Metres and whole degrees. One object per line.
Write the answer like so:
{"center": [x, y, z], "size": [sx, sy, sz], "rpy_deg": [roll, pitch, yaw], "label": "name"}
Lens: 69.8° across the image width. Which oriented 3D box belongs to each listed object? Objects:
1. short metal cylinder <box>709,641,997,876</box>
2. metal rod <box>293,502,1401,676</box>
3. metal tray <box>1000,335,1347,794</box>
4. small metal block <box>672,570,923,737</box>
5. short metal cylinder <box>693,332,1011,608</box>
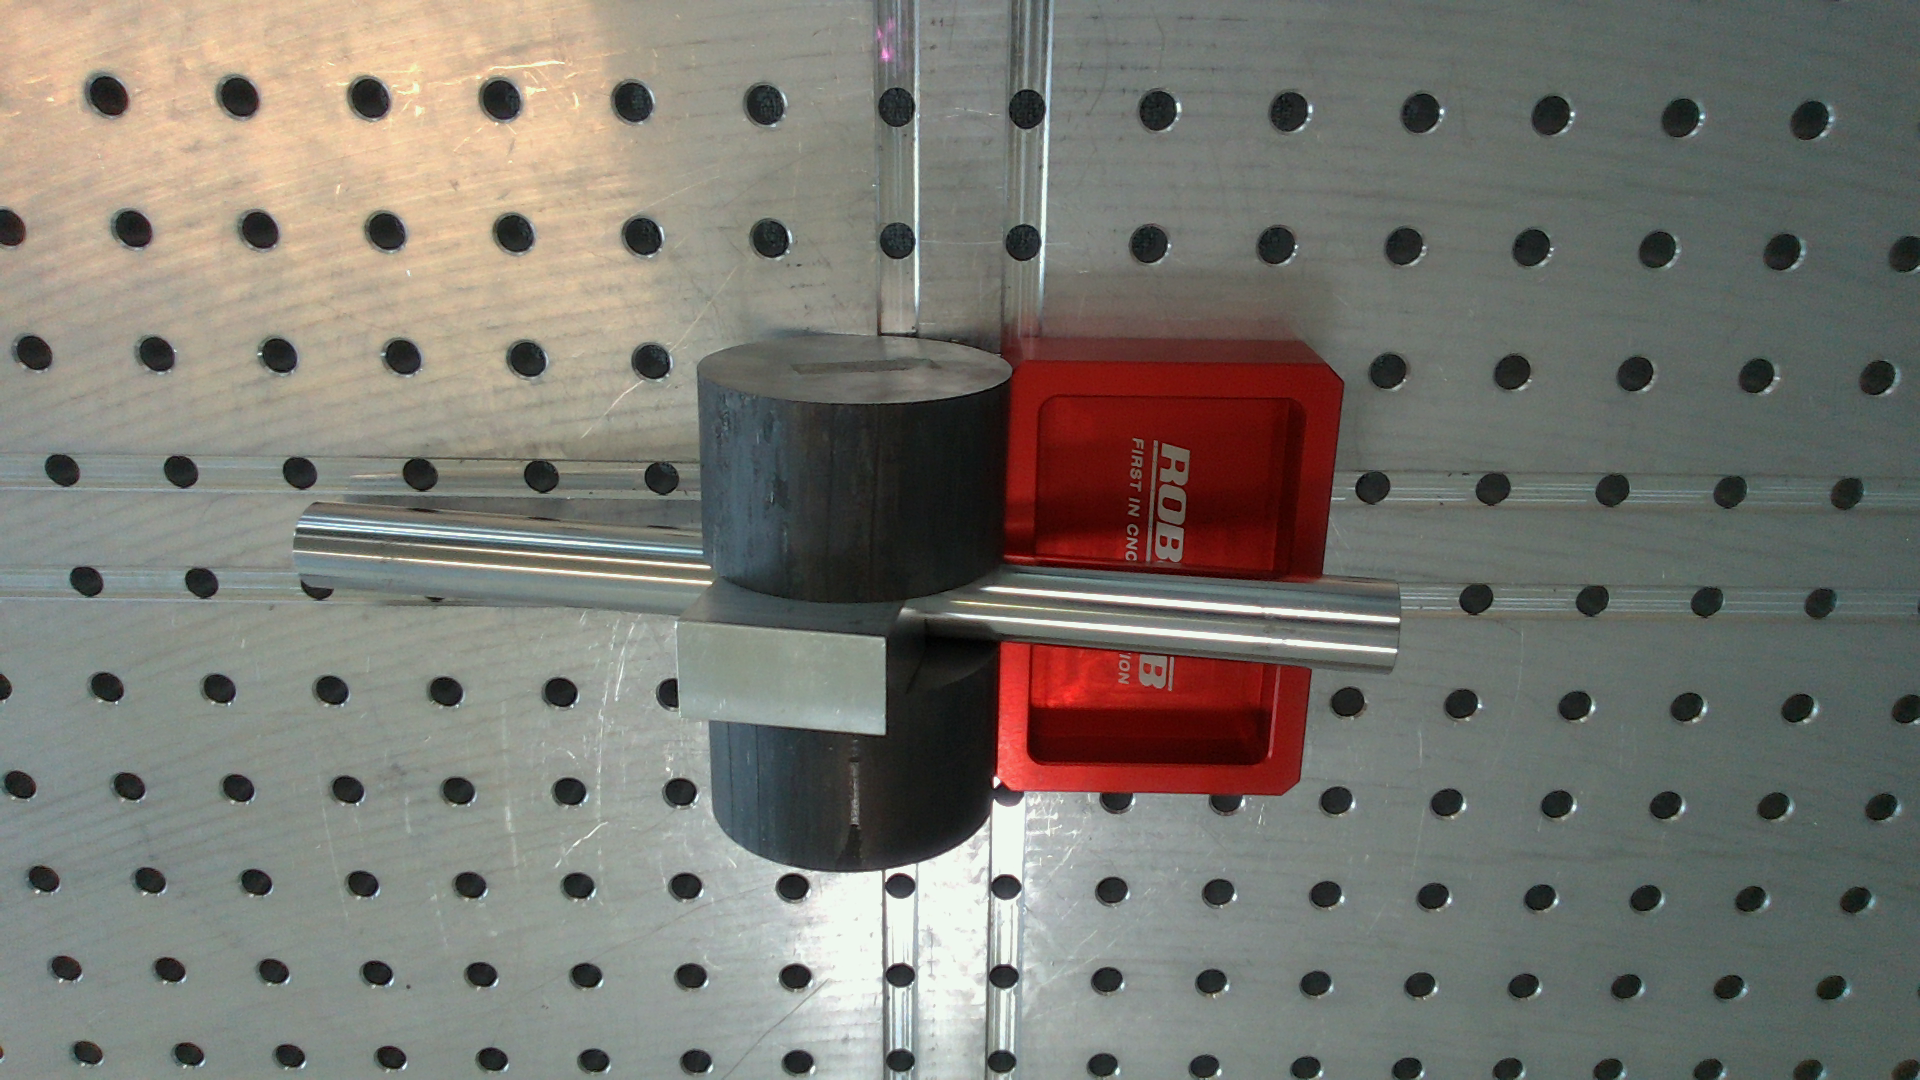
{"center": [-0.030, 0.050, 0.385], "size": [0.080, 0.080, 0.050], "rpy_deg": [1, 110, -1], "label": "short metal cylinder"}
{"center": [-0.036, 0.012, 0.376], "size": [0.300, 0.025, 0.025], "rpy_deg": [4, 110, 8], "label": "metal rod"}
{"center": [0.056, 0.009, 0.397], "size": [0.090, 0.030, 0.130], "rpy_deg": [1, 110, -1], "label": "metal tray"}
{"center": [-0.038, 0.024, 0.341], "size": [0.050, 0.050, 0.025], "rpy_deg": [4, 110, 7], "label": "small metal block"}
{"center": [-0.027, -0.021, 0.357], "size": [0.080, 0.080, 0.050], "rpy_deg": [1, 110, 0], "label": "short metal cylinder"}
